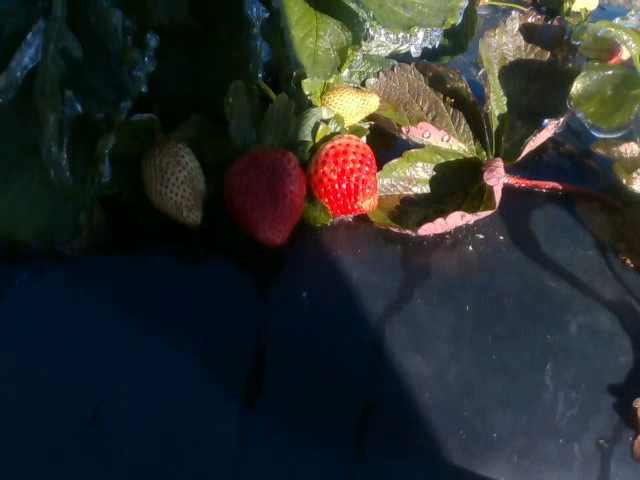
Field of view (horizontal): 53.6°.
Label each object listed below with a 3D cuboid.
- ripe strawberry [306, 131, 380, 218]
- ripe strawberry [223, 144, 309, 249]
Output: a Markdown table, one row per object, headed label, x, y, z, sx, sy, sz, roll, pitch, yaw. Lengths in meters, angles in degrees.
| label | x | y | z | sx | sy | sz | roll | pitch | yaw |
| --- | --- | --- | --- | --- | --- | --- | --- | --- | --- |
| ripe strawberry | 0.013 | -0.026 | 0.264 | 0.036 | 0.041 | 0.030 | -43 | -18 | -7 |
| ripe strawberry | -0.019 | -0.012 | 0.244 | 0.036 | 0.040 | 0.052 | -19 | 38 | -2 |
